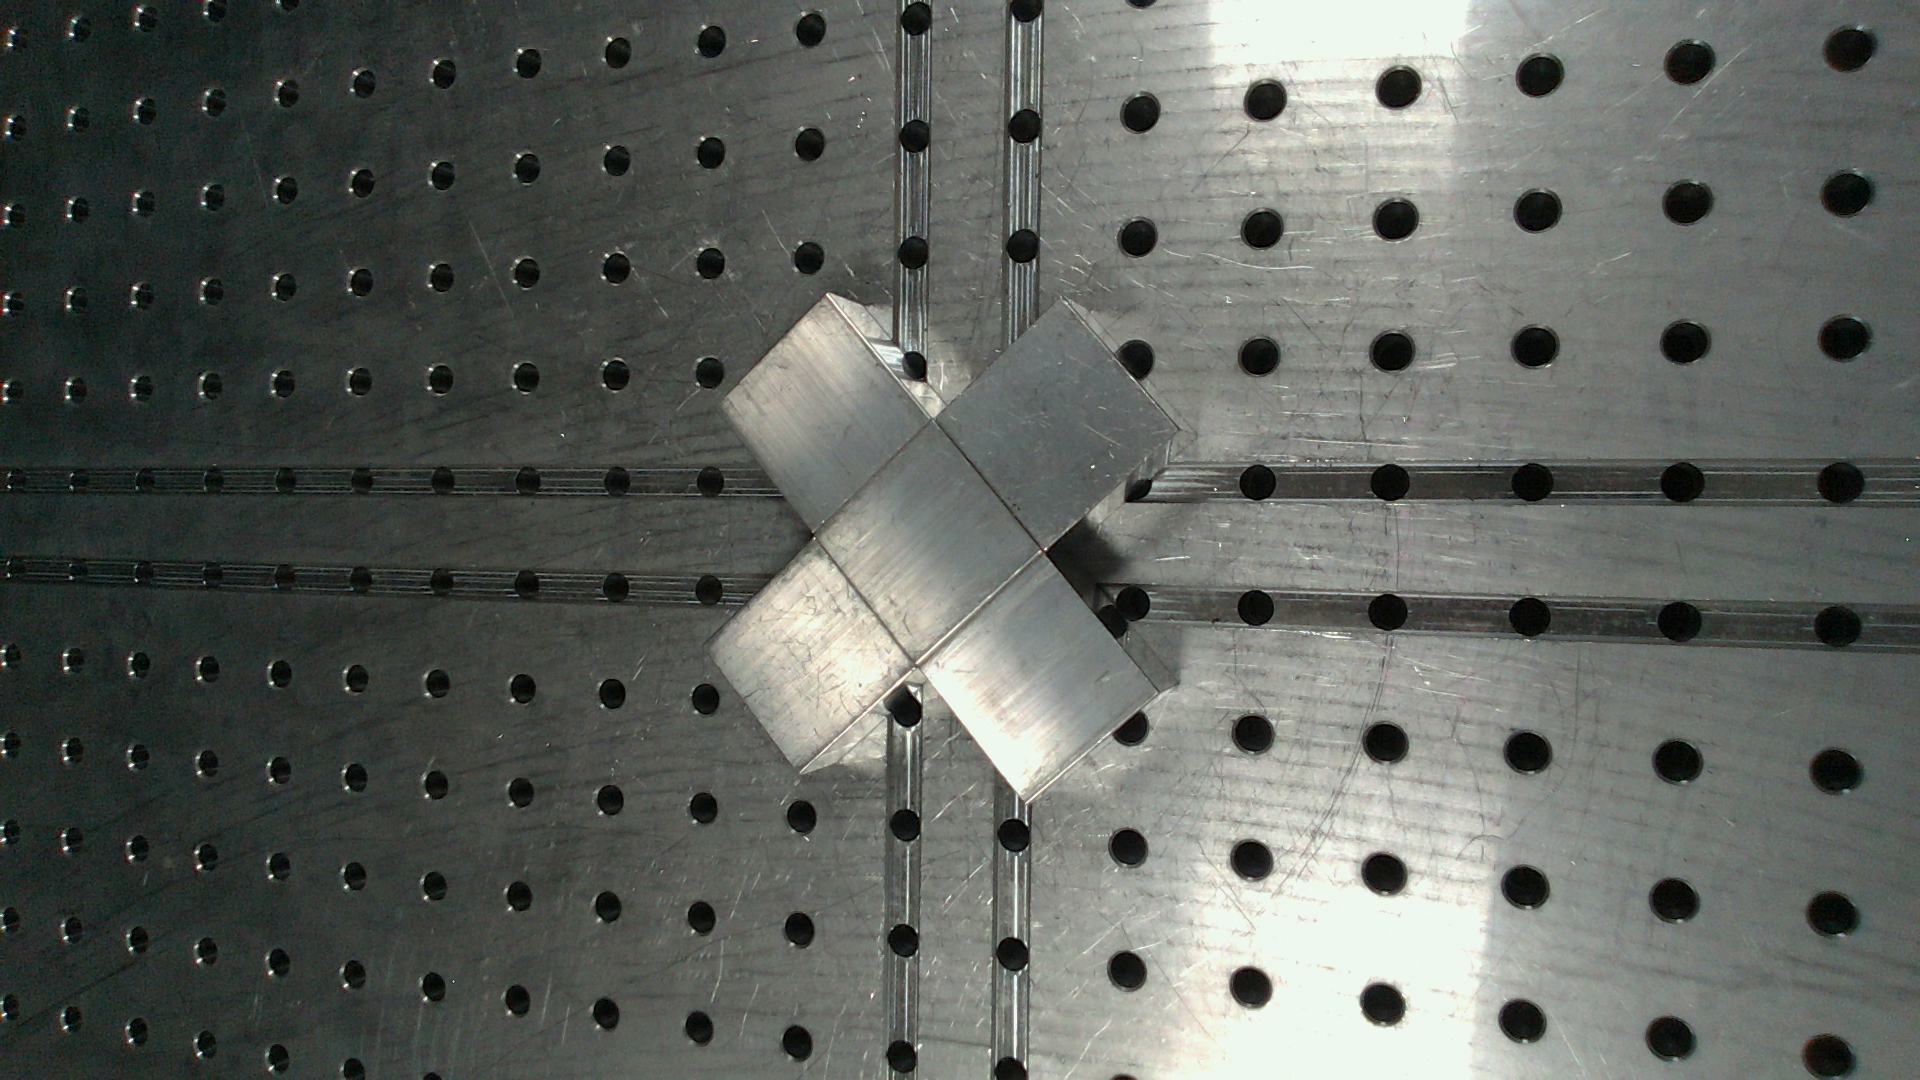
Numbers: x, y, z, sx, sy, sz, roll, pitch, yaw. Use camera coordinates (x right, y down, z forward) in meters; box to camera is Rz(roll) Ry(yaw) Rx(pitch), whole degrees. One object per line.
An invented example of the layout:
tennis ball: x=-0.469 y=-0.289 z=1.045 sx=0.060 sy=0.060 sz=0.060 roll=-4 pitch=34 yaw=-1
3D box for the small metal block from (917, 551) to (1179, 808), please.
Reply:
small metal block: x=0.025 y=0.038 z=0.389 sx=0.050 sy=0.025 sz=0.050 roll=-43 pitch=77 yaw=15

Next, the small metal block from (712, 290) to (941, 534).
small metal block: x=-0.037 y=-0.037 z=0.412 sx=0.050 sy=0.025 sz=0.050 roll=-43 pitch=77 yaw=15

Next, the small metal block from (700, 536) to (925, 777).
small metal block: x=-0.041 y=0.034 z=0.413 sx=0.050 sy=0.025 sz=0.050 roll=-43 pitch=77 yaw=15

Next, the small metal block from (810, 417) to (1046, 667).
small metal block: x=-0.006 y=0.001 z=0.399 sx=0.050 sy=0.025 sz=0.050 roll=-43 pitch=77 yaw=15

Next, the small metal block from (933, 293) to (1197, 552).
small metal block: x=0.030 y=-0.032 z=0.387 sx=0.050 sy=0.025 sz=0.050 roll=-43 pitch=77 yaw=15
